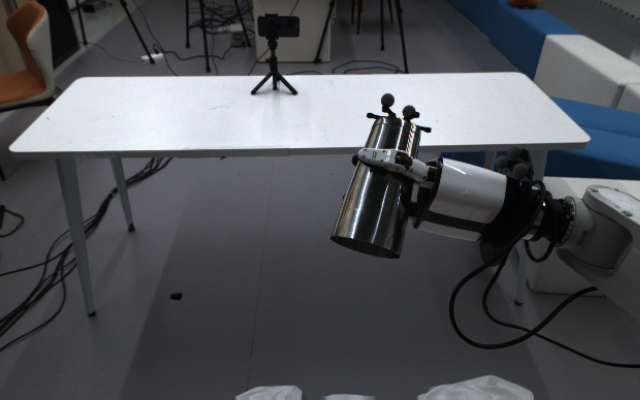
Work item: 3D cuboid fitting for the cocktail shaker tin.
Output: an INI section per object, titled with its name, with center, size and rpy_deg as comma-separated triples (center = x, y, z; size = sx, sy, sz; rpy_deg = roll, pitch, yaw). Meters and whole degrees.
[cocktail shaker tin]
center = 0.082, -0.018, 0.632
size = 0.093, 0.093, 0.170
rpy_deg = 13, 76, 15
